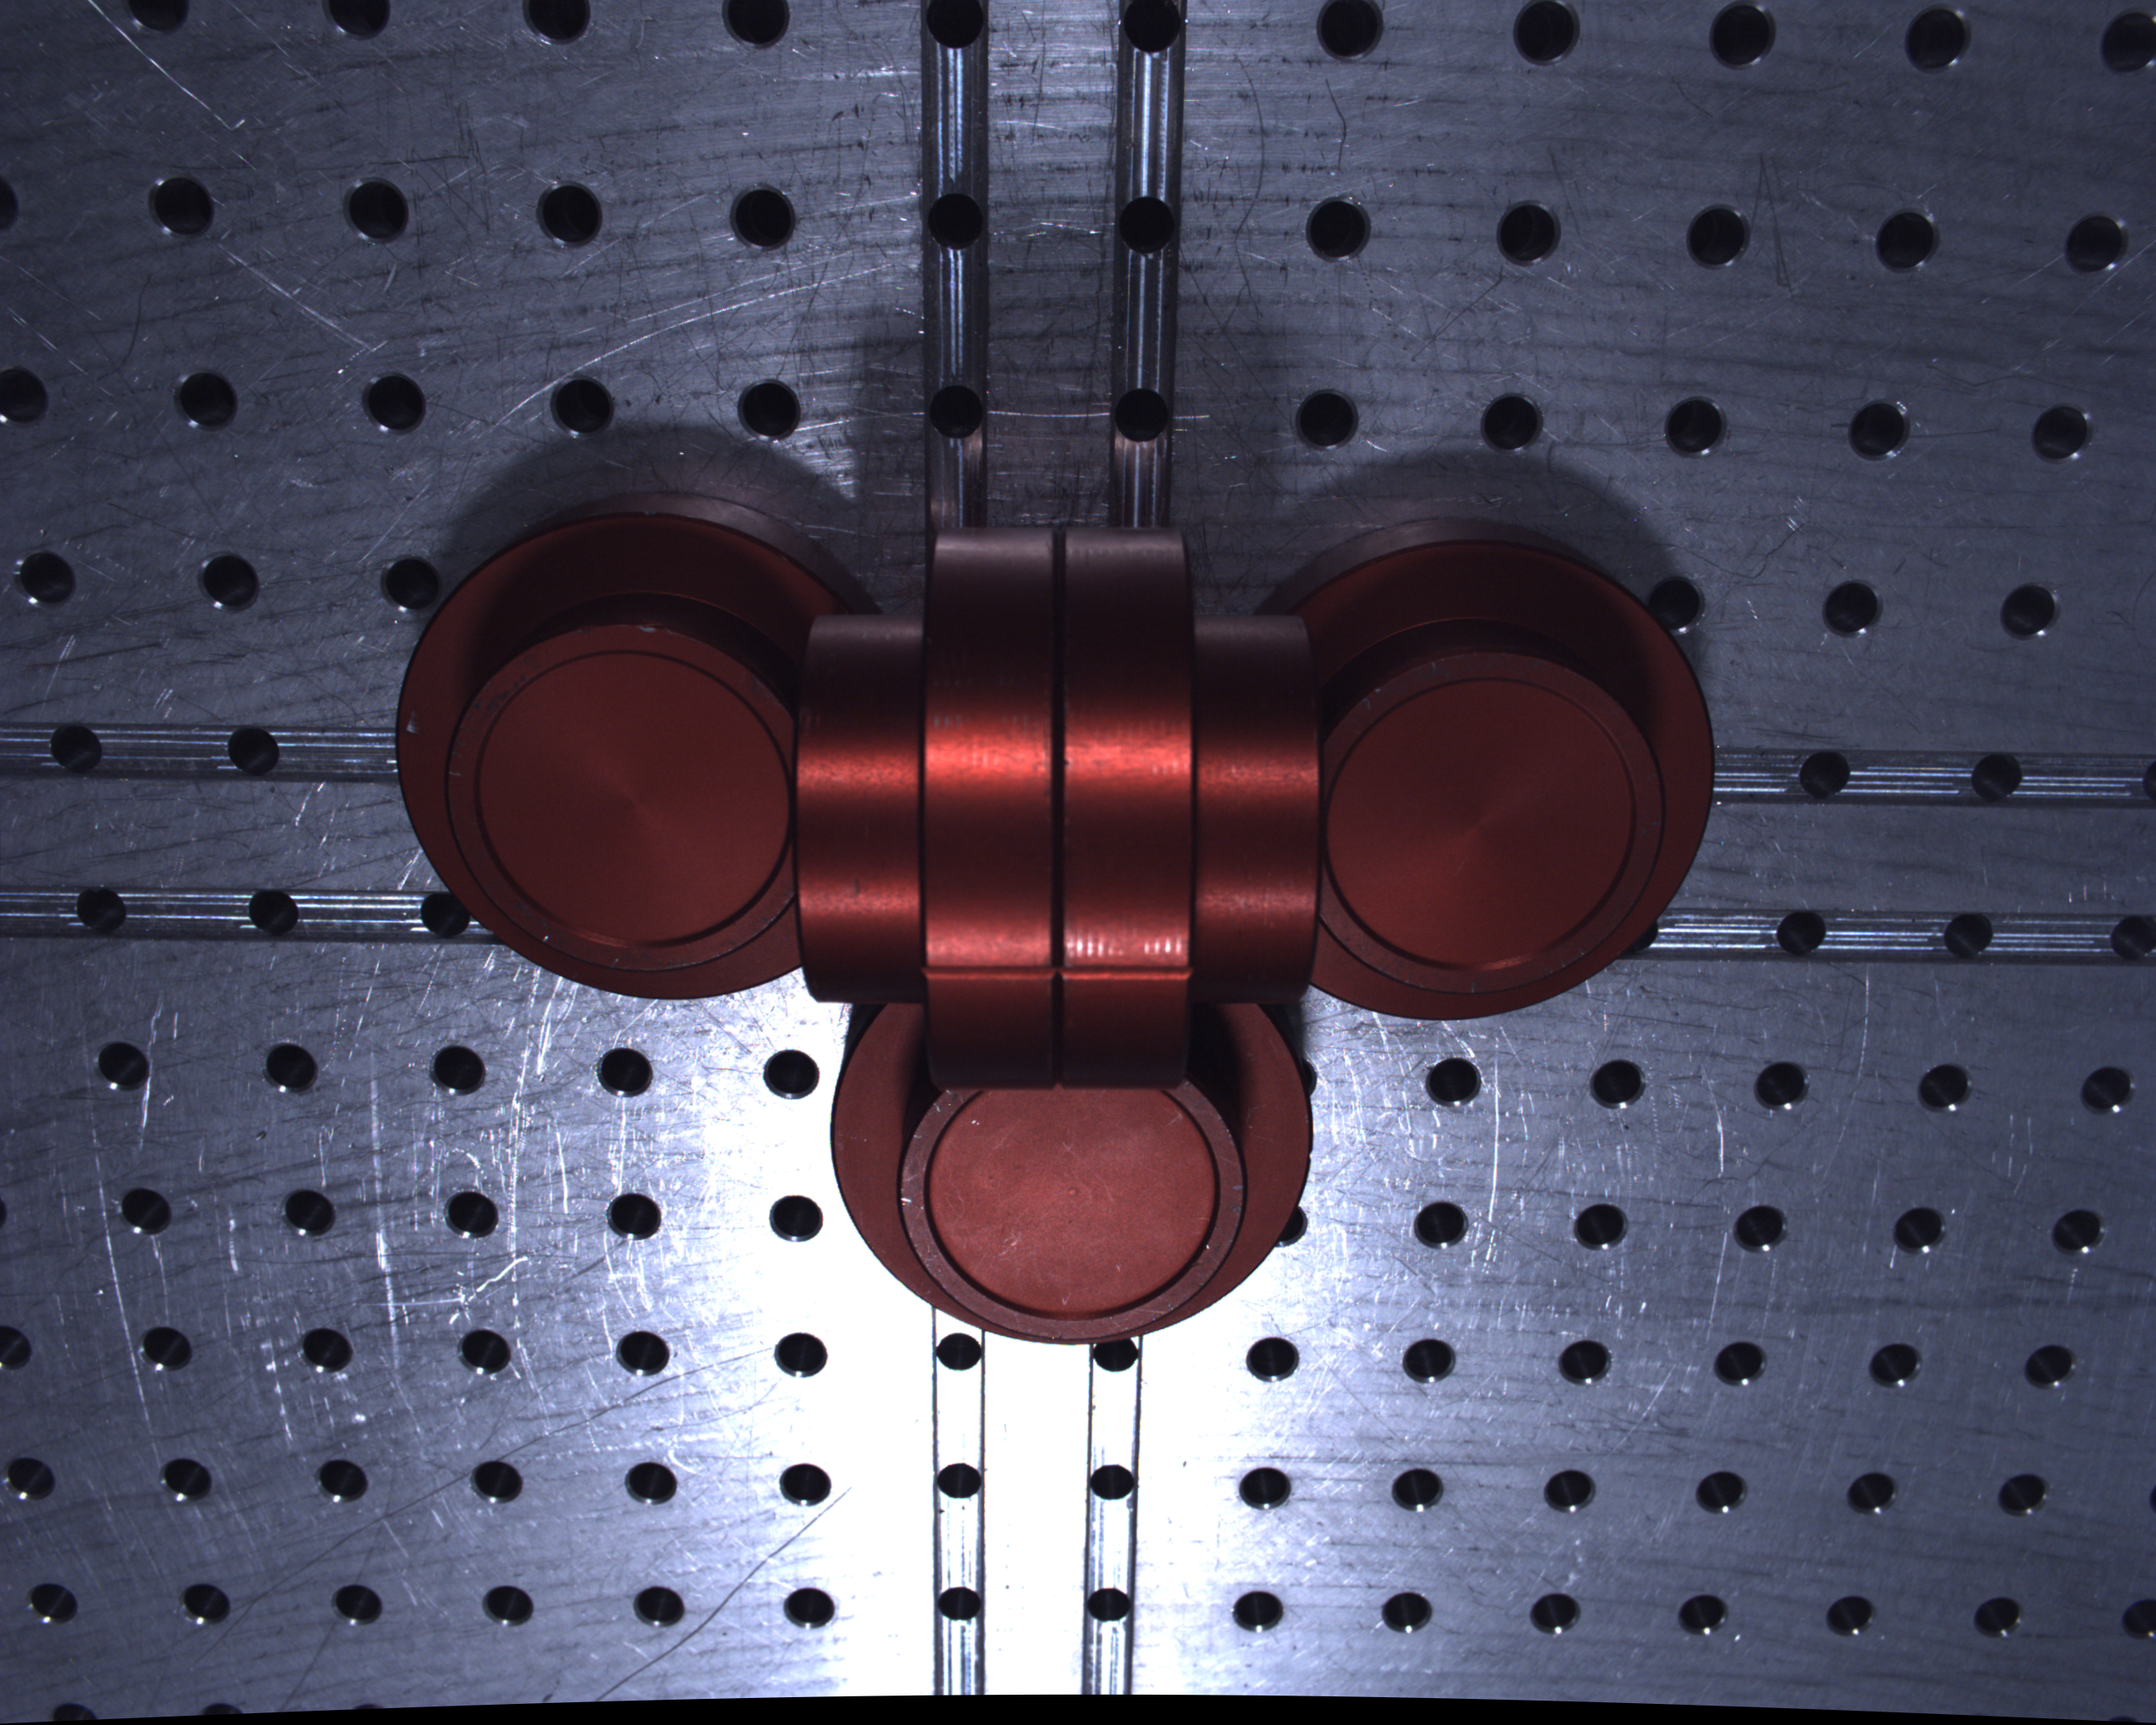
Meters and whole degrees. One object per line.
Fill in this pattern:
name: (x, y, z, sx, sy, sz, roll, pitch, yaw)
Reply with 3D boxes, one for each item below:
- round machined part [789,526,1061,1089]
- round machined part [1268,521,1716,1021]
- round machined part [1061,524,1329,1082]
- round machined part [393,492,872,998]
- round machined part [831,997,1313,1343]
round machined part: (-0.025, -0.010, 0.364, 0.042, 0.098, 0.097, 1, 110, -1)
round machined part: (0.073, -0.013, 0.400, 0.099, 0.042, 0.097, 0, 110, -1)
round machined part: (0.019, -0.010, 0.365, 0.042, 0.098, 0.097, -1, 110, 0)
round machined part: (-0.081, -0.018, 0.396, 0.099, 0.042, 0.097, 0, 110, -1)
round machined part: (-0.001, 0.057, 0.425, 0.099, 0.042, 0.097, 0, 110, -1)
